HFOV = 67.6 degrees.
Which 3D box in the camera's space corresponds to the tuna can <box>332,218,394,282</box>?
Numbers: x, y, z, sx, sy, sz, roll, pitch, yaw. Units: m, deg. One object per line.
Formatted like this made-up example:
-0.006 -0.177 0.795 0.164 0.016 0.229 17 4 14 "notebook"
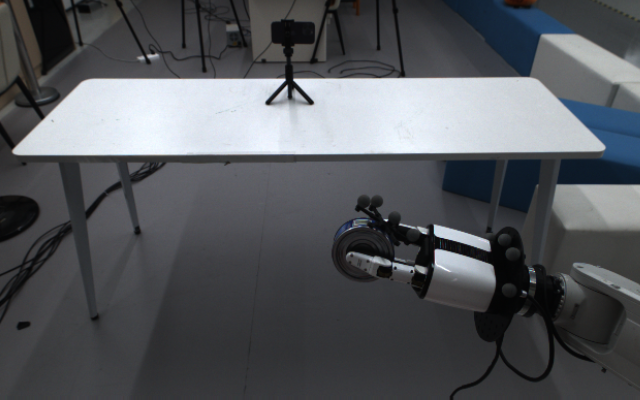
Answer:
0.062 0.075 0.658 0.085 0.085 0.034 6 19 6 "tuna can"
